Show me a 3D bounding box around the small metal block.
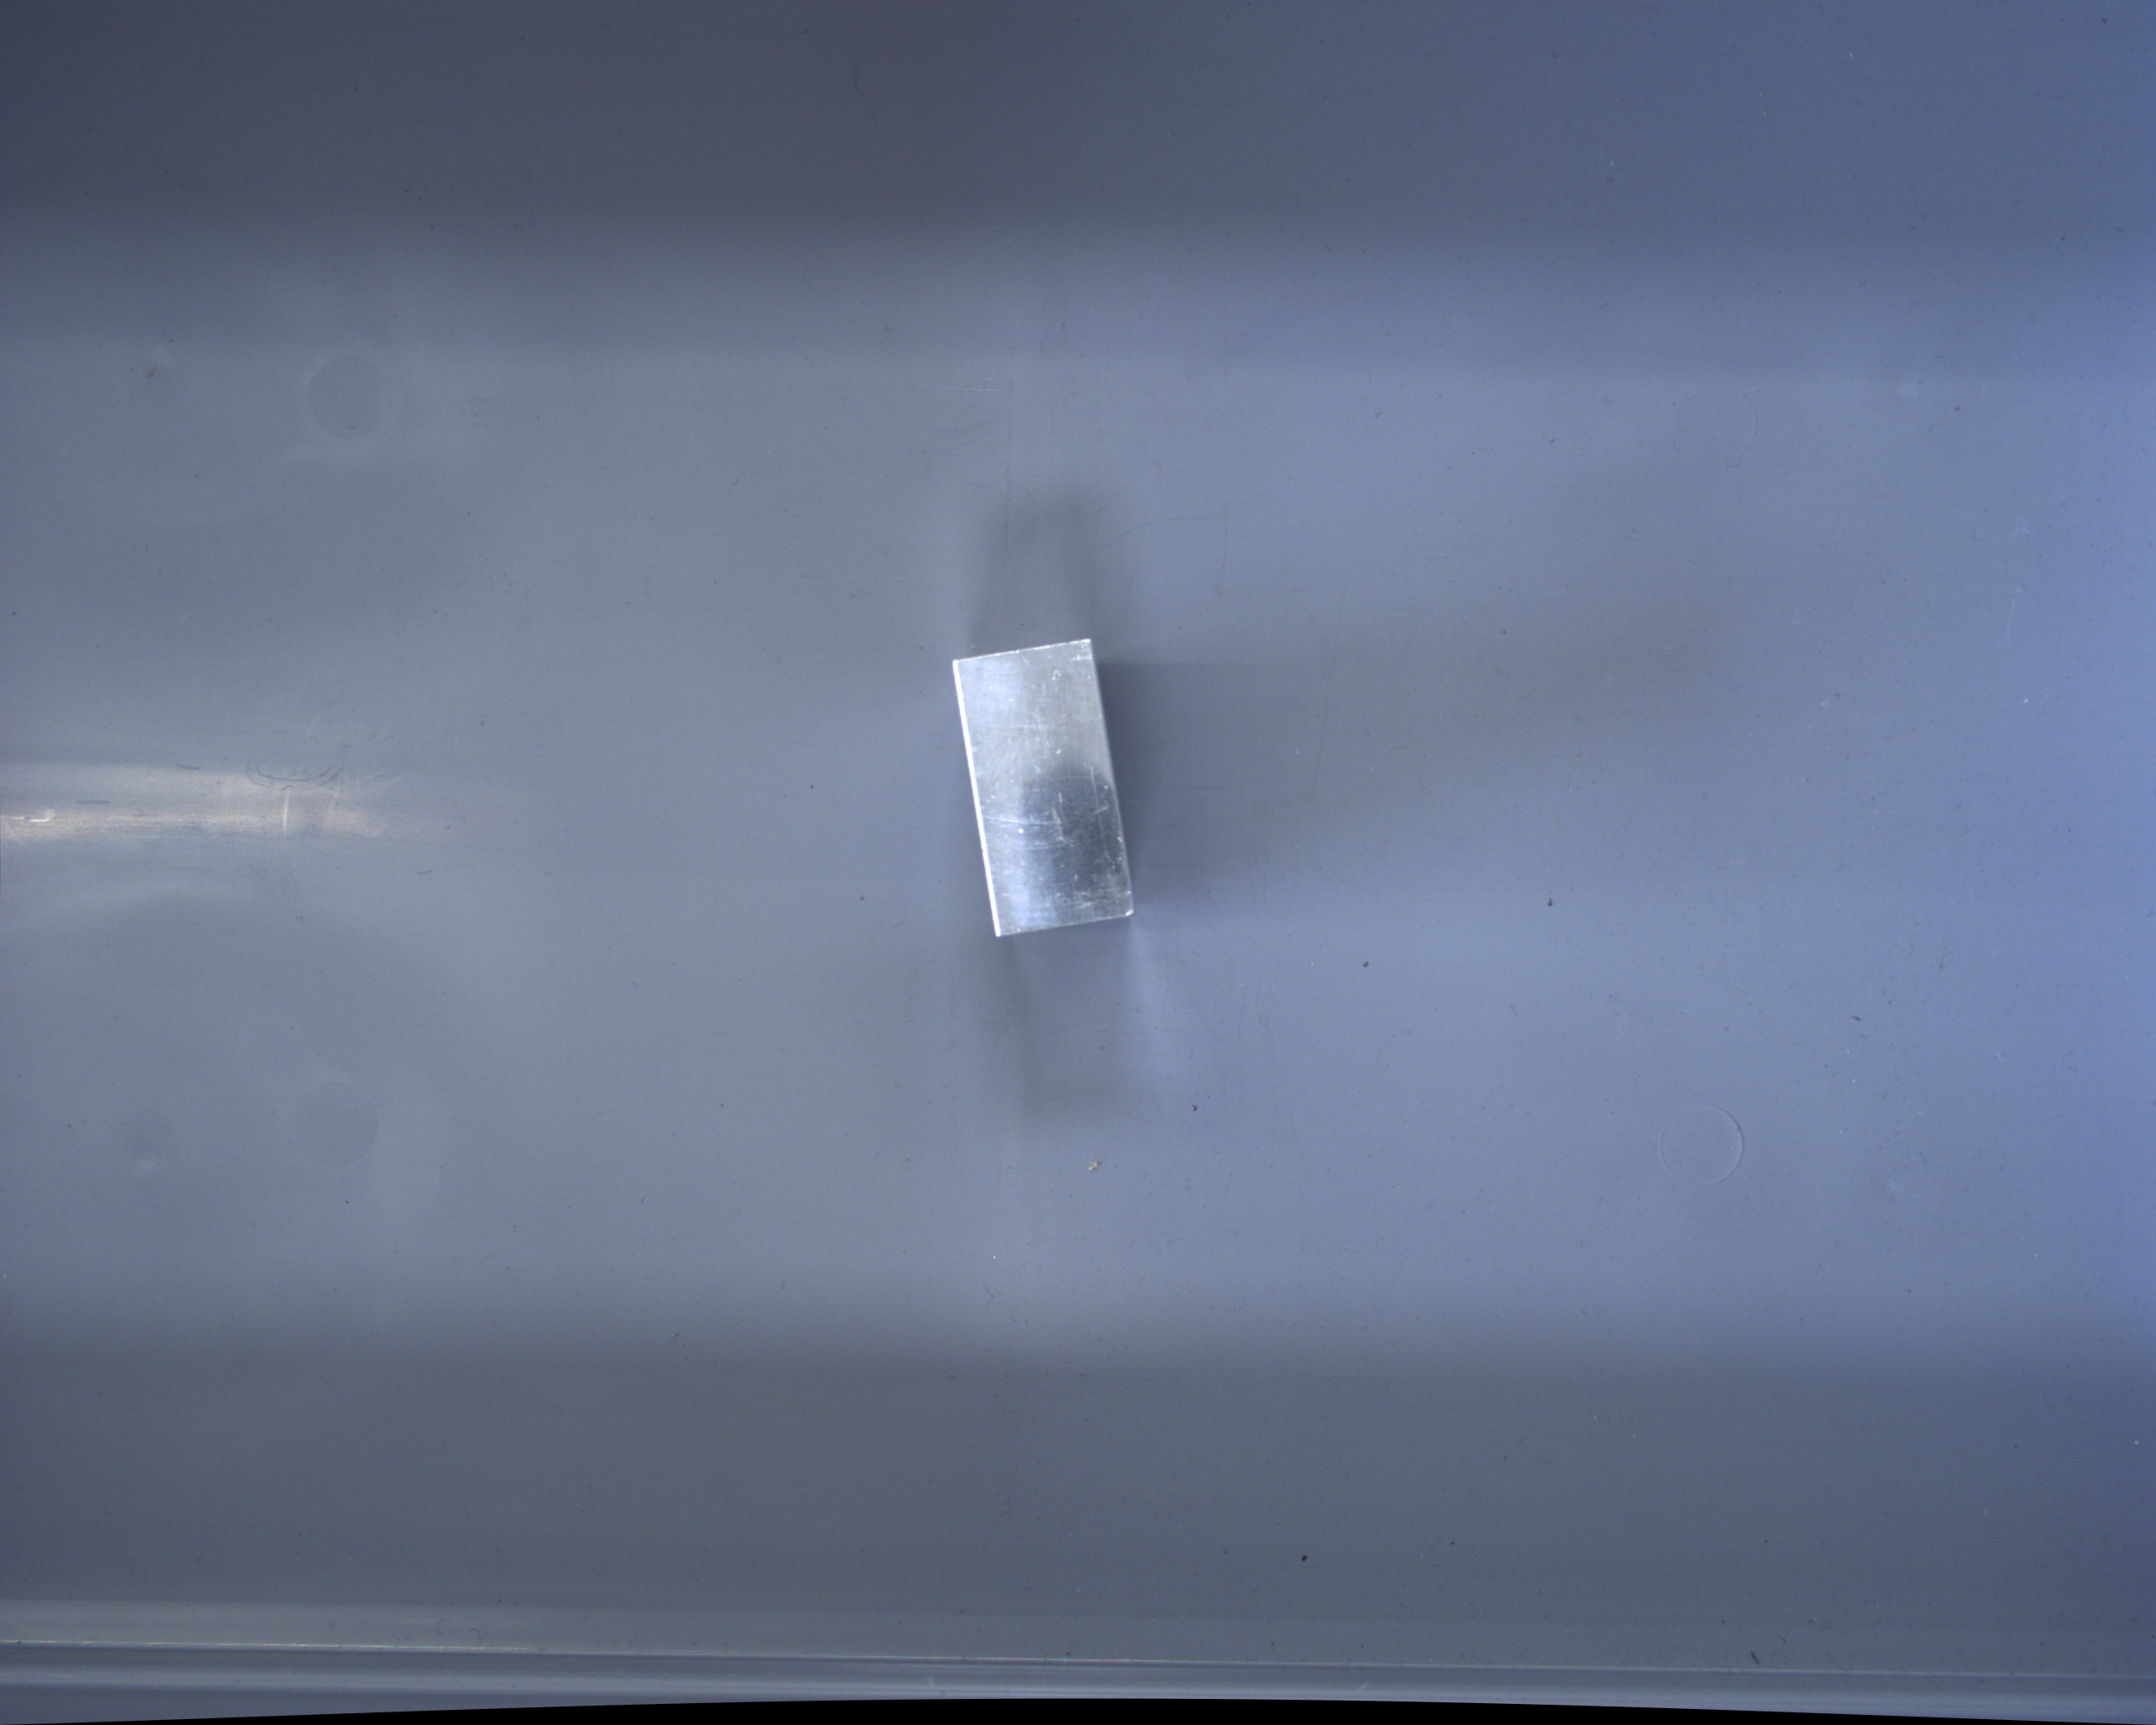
[{"bbox_3d":[-0.006,-0.013,0.395,0.025,0.050,0.050,-9,90,0],"label":"small metal block"}]
